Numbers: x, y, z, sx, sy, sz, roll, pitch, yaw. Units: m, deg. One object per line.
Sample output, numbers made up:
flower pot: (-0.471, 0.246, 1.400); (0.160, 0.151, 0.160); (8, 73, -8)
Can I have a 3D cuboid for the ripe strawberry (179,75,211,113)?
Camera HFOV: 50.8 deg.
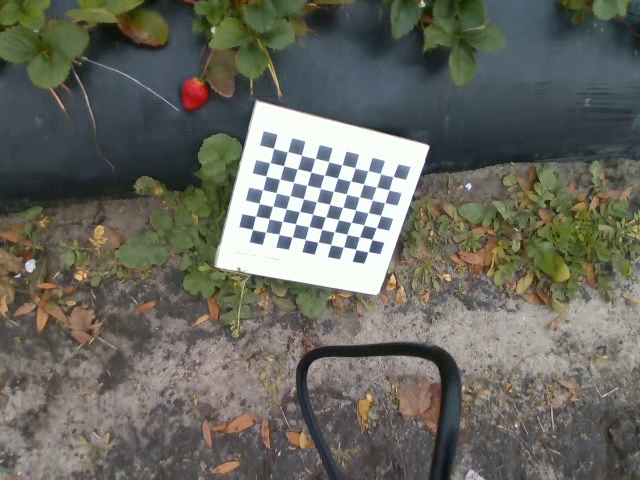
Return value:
ripe strawberry: (-0.125, -0.143, 0.651); (0.028, 0.033, 0.023); (27, 9, -16)
